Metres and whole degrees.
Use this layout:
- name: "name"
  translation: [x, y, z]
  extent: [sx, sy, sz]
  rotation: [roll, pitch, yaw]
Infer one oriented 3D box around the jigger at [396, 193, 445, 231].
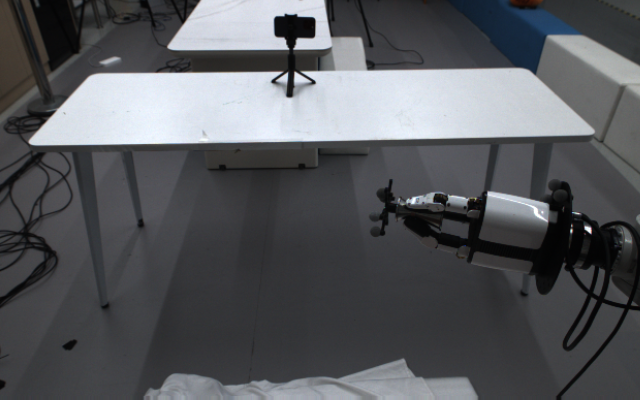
- name: "jigger"
  translation: [0.156, 0.014, 0.724]
  extent: [0.071, 0.043, 0.043]
  rotation: [10, 35, 15]
